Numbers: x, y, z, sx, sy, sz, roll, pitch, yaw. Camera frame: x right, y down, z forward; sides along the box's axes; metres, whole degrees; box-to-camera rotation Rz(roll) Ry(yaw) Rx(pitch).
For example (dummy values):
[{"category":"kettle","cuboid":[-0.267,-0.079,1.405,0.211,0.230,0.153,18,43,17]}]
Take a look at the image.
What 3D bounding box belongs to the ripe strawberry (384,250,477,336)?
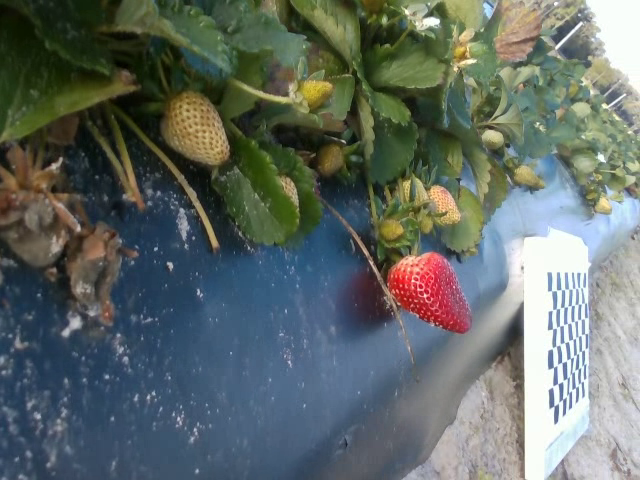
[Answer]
[{"category":"ripe strawberry","cuboid":[0.082,0.038,0.413,0.045,0.068,0.052,-49,-23,24]}]
